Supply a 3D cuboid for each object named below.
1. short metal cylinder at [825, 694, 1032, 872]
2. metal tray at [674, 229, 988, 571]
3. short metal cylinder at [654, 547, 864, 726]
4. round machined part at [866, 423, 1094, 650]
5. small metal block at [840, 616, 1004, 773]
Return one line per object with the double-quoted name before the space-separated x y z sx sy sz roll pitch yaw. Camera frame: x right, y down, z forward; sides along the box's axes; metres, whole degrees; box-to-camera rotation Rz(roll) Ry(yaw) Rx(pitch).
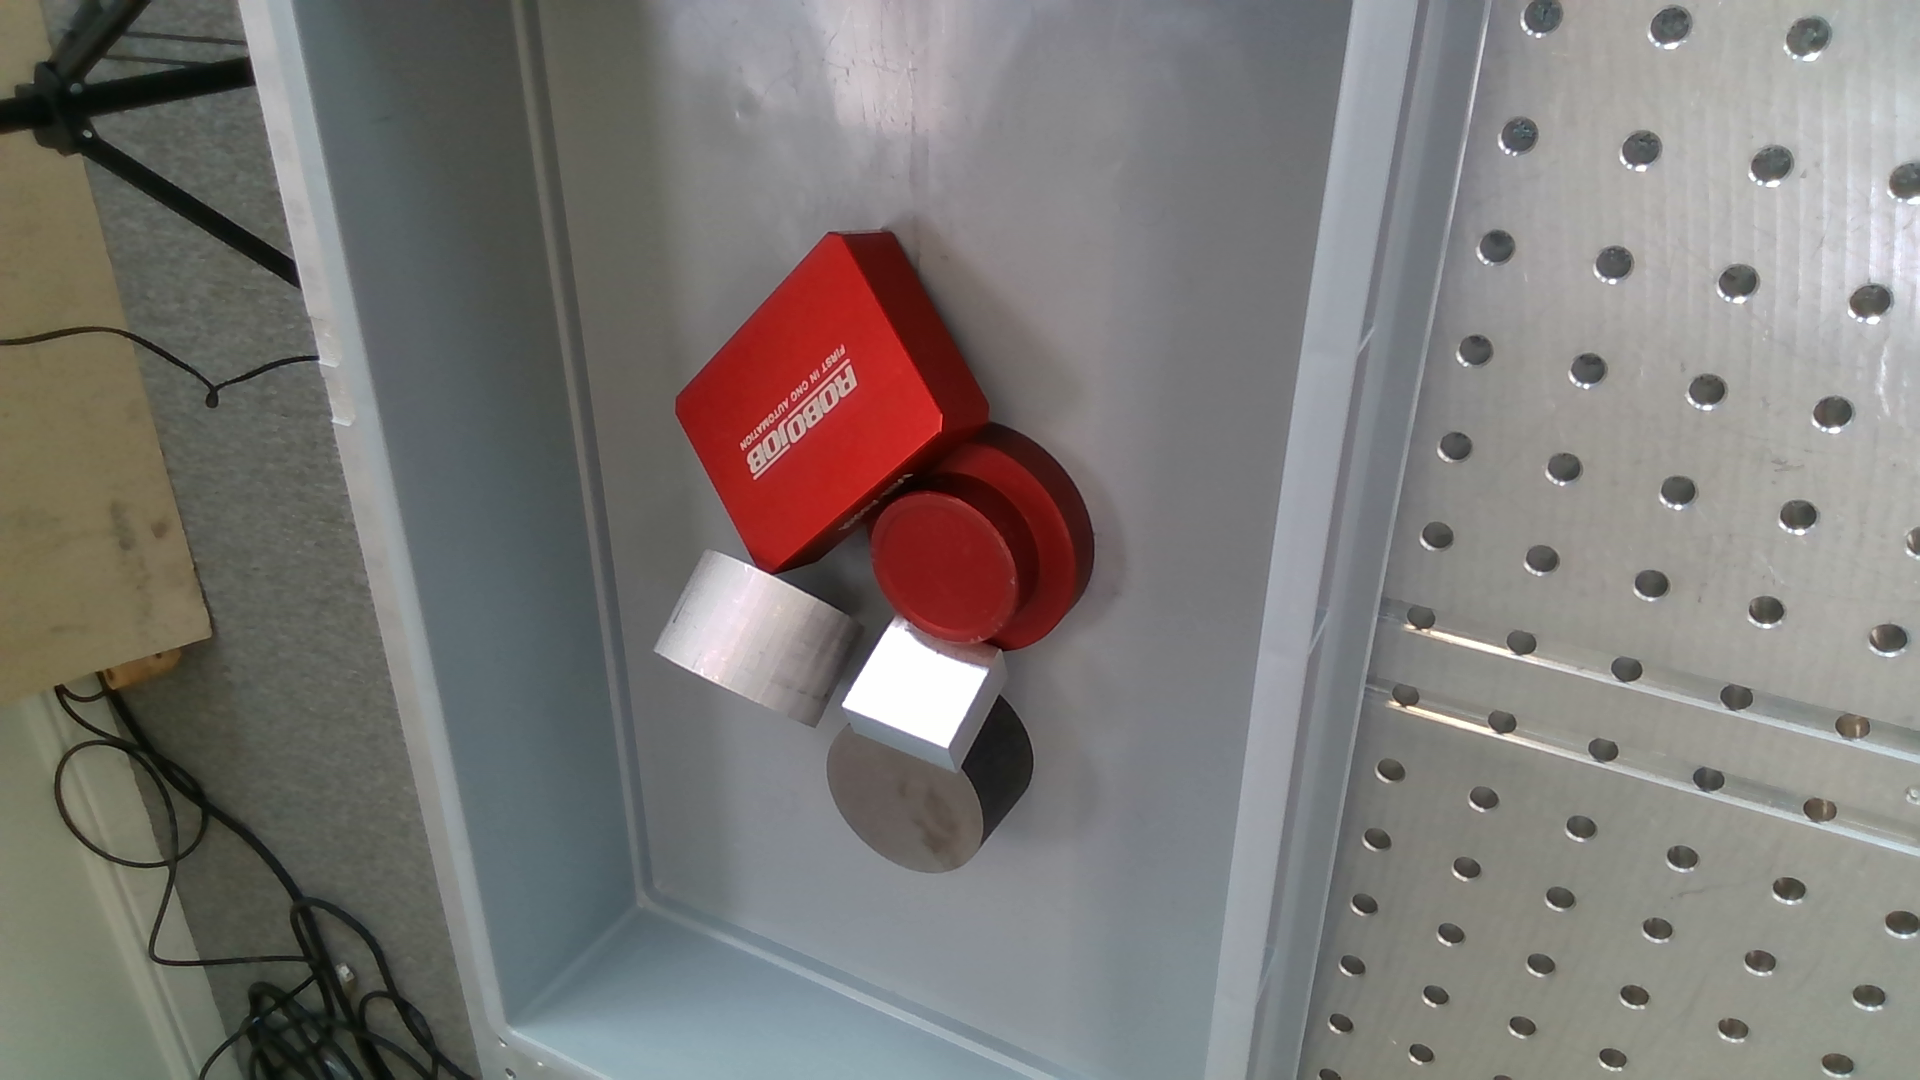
"short metal cylinder" -0.014 0.104 0.628 0.080 0.050 0.080 14 122 25
"metal tray" -0.057 -0.055 0.566 0.130 0.030 0.090 -36 78 40
"short metal cylinder" -0.090 0.043 0.614 0.080 0.080 0.050 23 82 19
"round machined part" 0.002 0.003 0.568 0.098 0.042 0.098 14 122 25
"small metal block" -0.015 0.063 0.583 0.050 0.050 0.025 19 151 21
